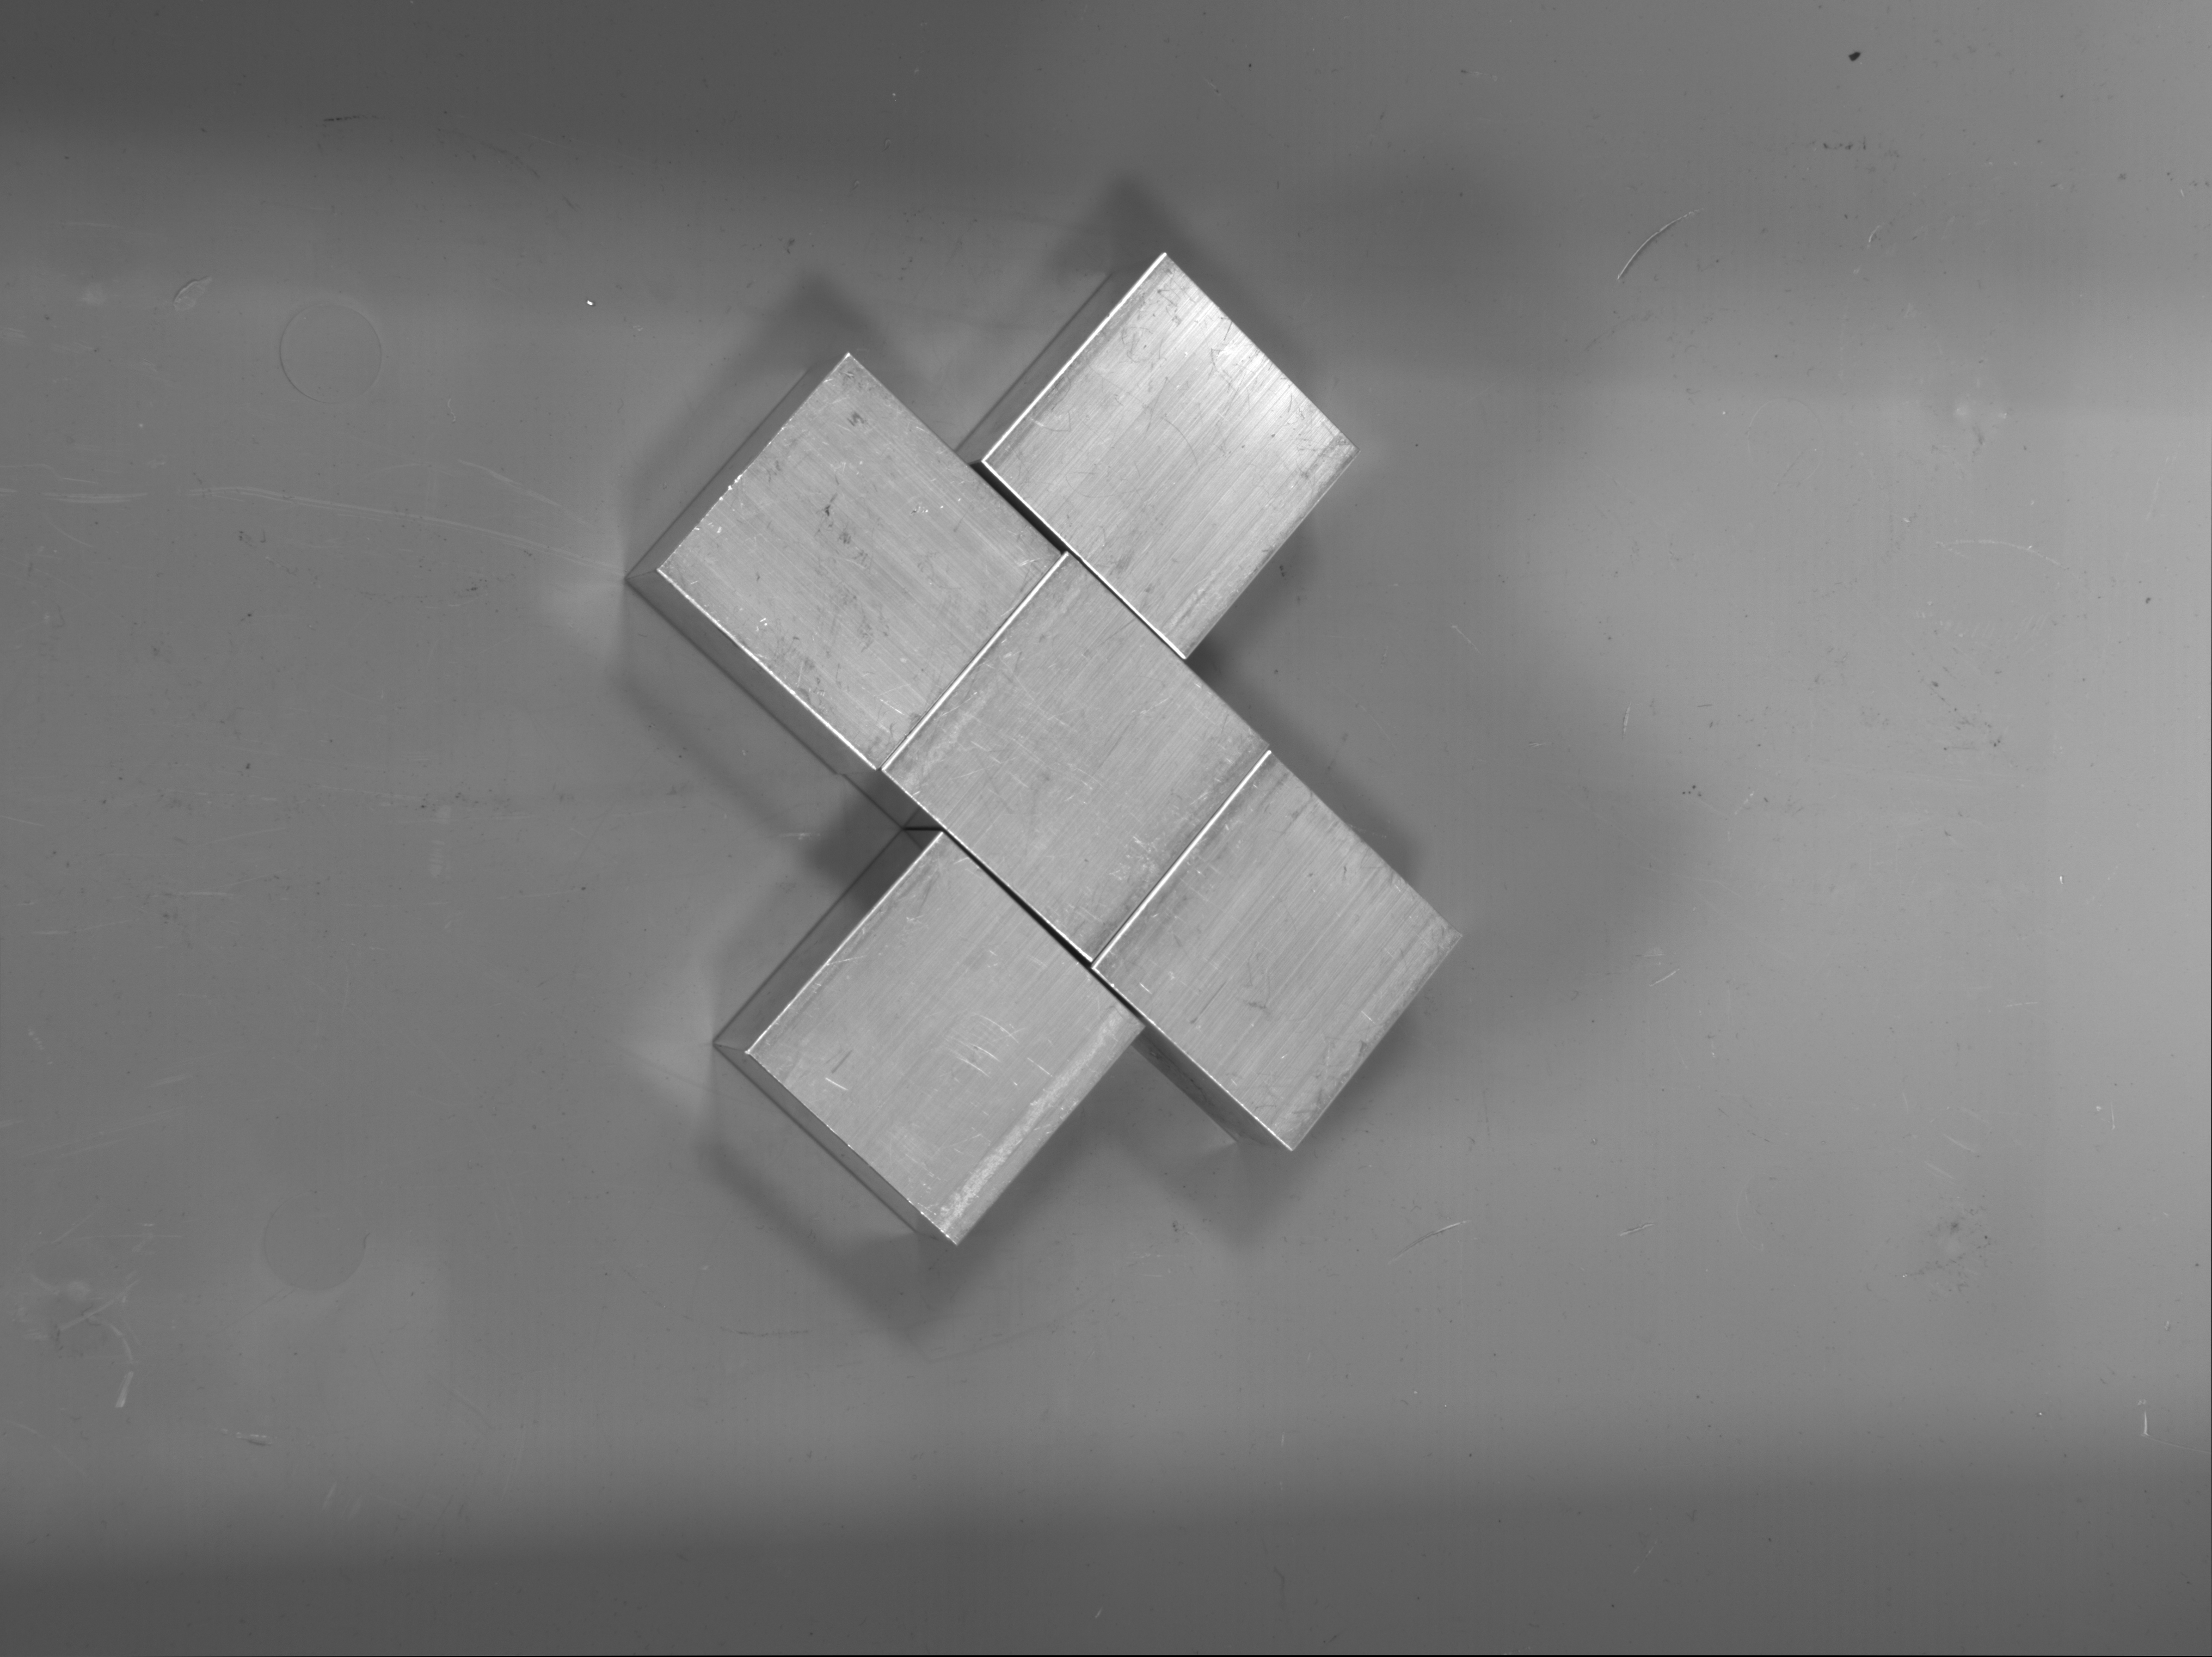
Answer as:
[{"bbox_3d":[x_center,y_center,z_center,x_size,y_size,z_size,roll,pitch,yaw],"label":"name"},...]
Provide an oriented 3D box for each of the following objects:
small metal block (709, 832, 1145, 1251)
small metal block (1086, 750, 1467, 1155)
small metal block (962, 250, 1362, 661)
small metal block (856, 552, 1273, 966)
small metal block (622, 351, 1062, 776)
[{"bbox_3d":[-0.031,0.036,0.630,0.050,0.025,0.050,45,77,-14],"label":"small metal block"},{"bbox_3d":[0.027,0.022,0.650,0.050,0.025,0.050,43,77,-15],"label":"small metal block"},{"bbox_3d":[0.008,-0.064,0.644,0.050,0.025,0.050,44,75,-15],"label":"small metal block"},{"bbox_3d":[-0.008,-0.012,0.637,0.050,0.025,0.050,43,77,-15],"label":"small metal block"},{"bbox_3d":[-0.045,-0.044,0.625,0.050,0.025,0.050,43,77,-15],"label":"small metal block"}]
